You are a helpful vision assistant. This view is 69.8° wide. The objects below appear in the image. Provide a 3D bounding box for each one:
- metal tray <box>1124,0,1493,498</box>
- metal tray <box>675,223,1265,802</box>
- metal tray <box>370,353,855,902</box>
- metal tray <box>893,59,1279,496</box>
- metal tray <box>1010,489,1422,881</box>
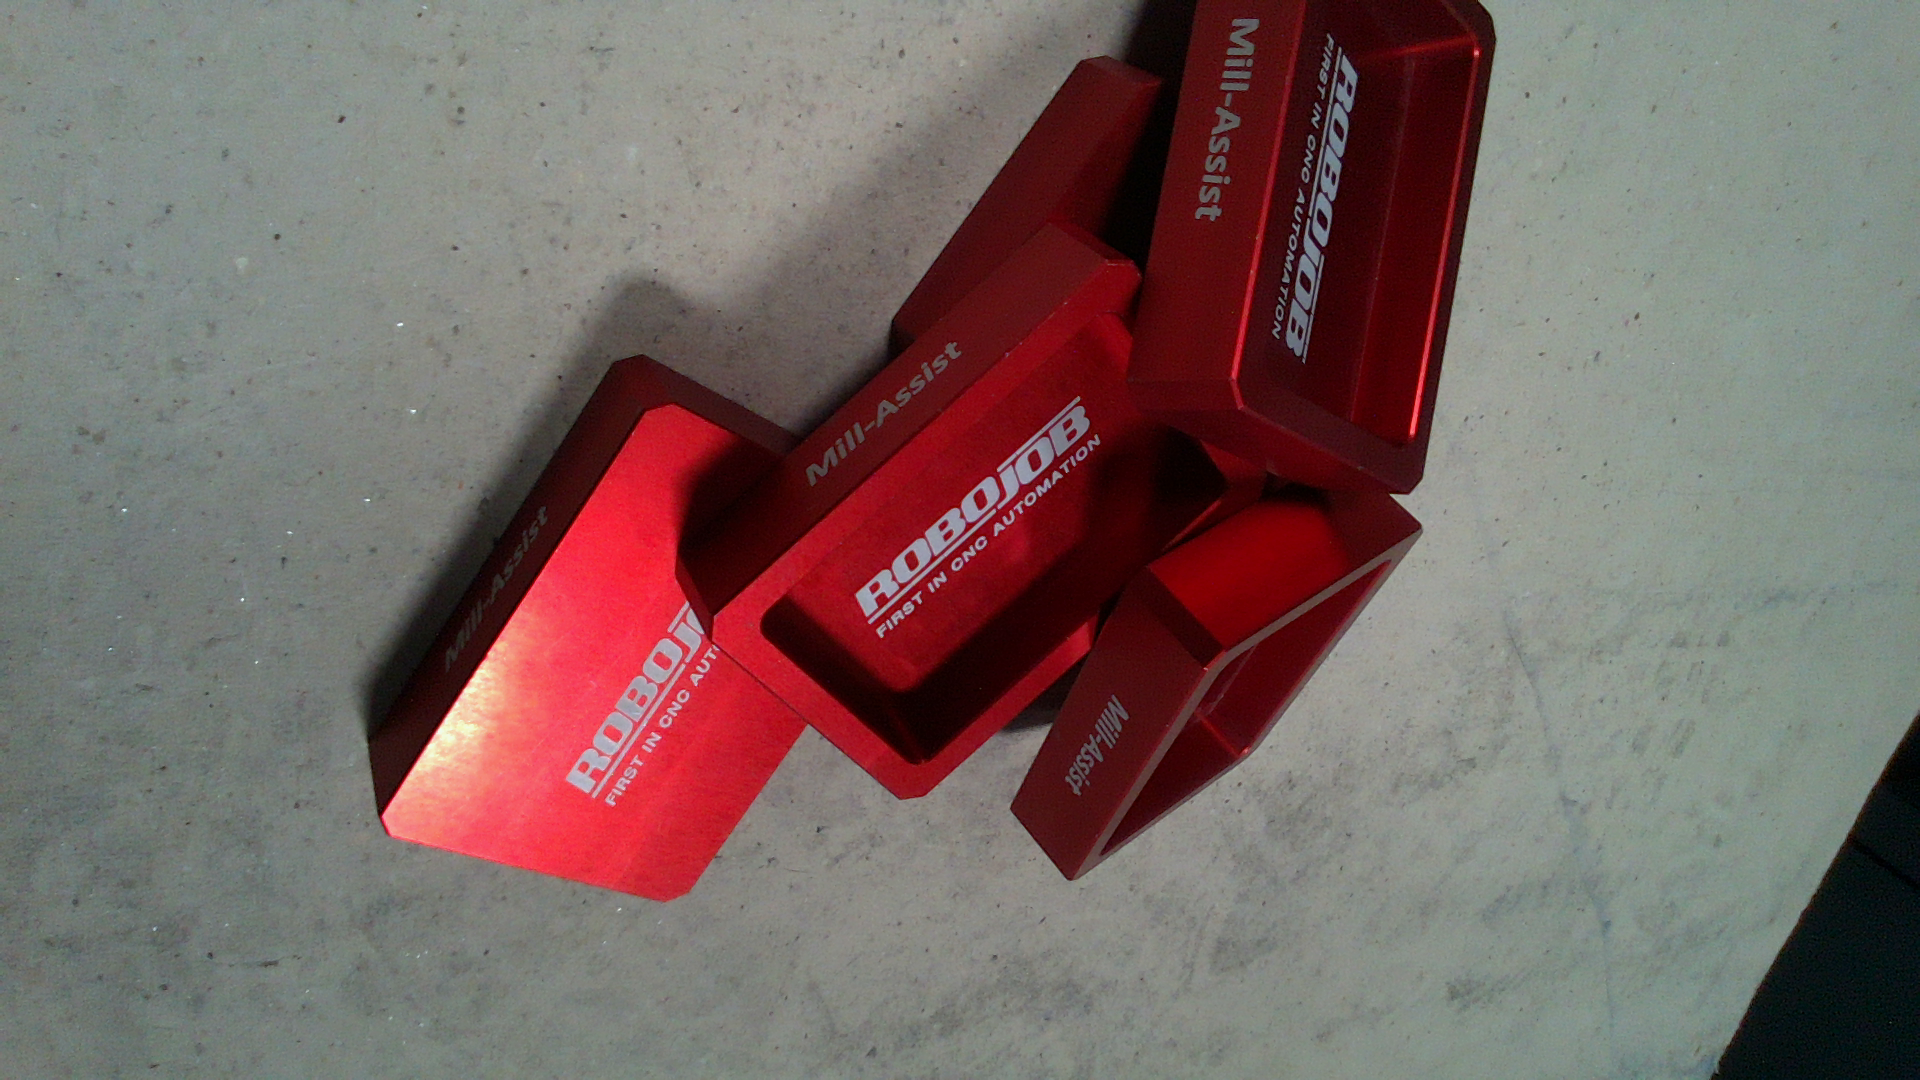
[{"bbox_3d":[0.090,-0.084,0.339,0.090,0.030,0.130,17,82,-45],"label":"metal tray"},{"bbox_3d":[0.006,-0.004,0.348,0.130,0.030,0.090,-42,129,0],"label":"metal tray"},{"bbox_3d":[-0.080,0.028,0.359,0.090,0.030,0.130,27,103,-37],"label":"metal tray"},{"bbox_3d":[0.057,-0.057,0.382,0.130,0.030,0.090,30,102,-38],"label":"metal tray"},{"bbox_3d":[0.072,0.041,0.406,0.090,0.030,0.130,-27,154,-32],"label":"metal tray"}]
